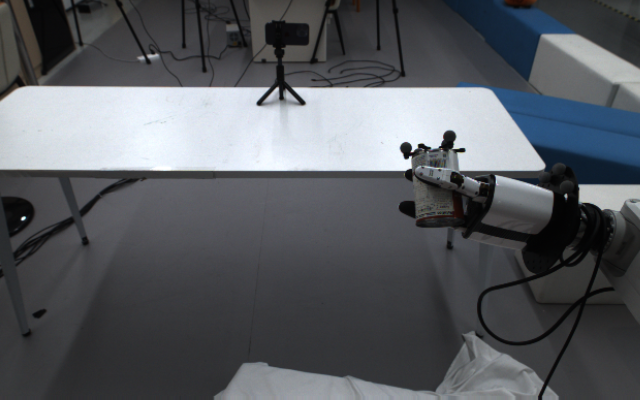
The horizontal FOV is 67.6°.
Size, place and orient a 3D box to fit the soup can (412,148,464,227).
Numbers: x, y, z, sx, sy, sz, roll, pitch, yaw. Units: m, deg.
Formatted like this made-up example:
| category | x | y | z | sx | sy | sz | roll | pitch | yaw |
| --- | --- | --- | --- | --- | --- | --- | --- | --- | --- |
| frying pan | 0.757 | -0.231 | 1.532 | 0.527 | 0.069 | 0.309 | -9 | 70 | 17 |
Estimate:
| category | x | y | z | sx | sy | sz | roll | pitch | yaw |
| --- | --- | --- | --- | --- | --- | --- | --- | --- | --- |
| soup can | 0.167 | -0.018 | 0.692 | 0.067 | 0.067 | 0.101 | 0 | 75 | -4 |
